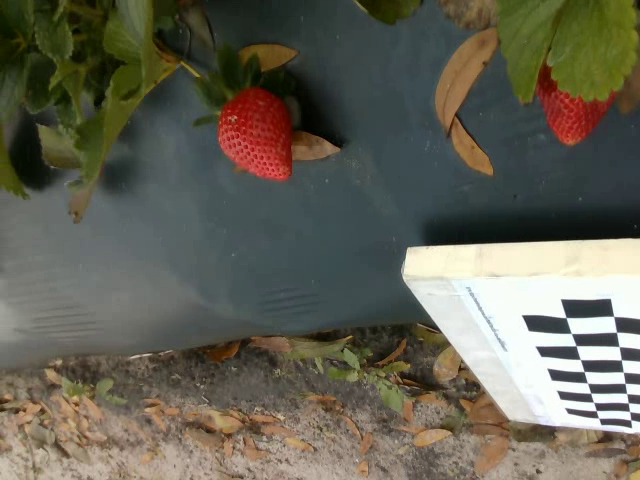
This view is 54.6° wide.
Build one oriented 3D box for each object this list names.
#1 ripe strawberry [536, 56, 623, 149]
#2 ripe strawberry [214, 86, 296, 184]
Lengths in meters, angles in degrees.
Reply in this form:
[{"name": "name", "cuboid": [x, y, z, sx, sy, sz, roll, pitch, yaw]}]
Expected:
[{"name": "ripe strawberry", "cuboid": [0.110, -0.055, 0.260, 0.040, 0.042, 0.037, 2, 14, 18]}, {"name": "ripe strawberry", "cuboid": [-0.029, -0.050, 0.328, 0.042, 0.065, 0.047, -35, -35, 3]}]
